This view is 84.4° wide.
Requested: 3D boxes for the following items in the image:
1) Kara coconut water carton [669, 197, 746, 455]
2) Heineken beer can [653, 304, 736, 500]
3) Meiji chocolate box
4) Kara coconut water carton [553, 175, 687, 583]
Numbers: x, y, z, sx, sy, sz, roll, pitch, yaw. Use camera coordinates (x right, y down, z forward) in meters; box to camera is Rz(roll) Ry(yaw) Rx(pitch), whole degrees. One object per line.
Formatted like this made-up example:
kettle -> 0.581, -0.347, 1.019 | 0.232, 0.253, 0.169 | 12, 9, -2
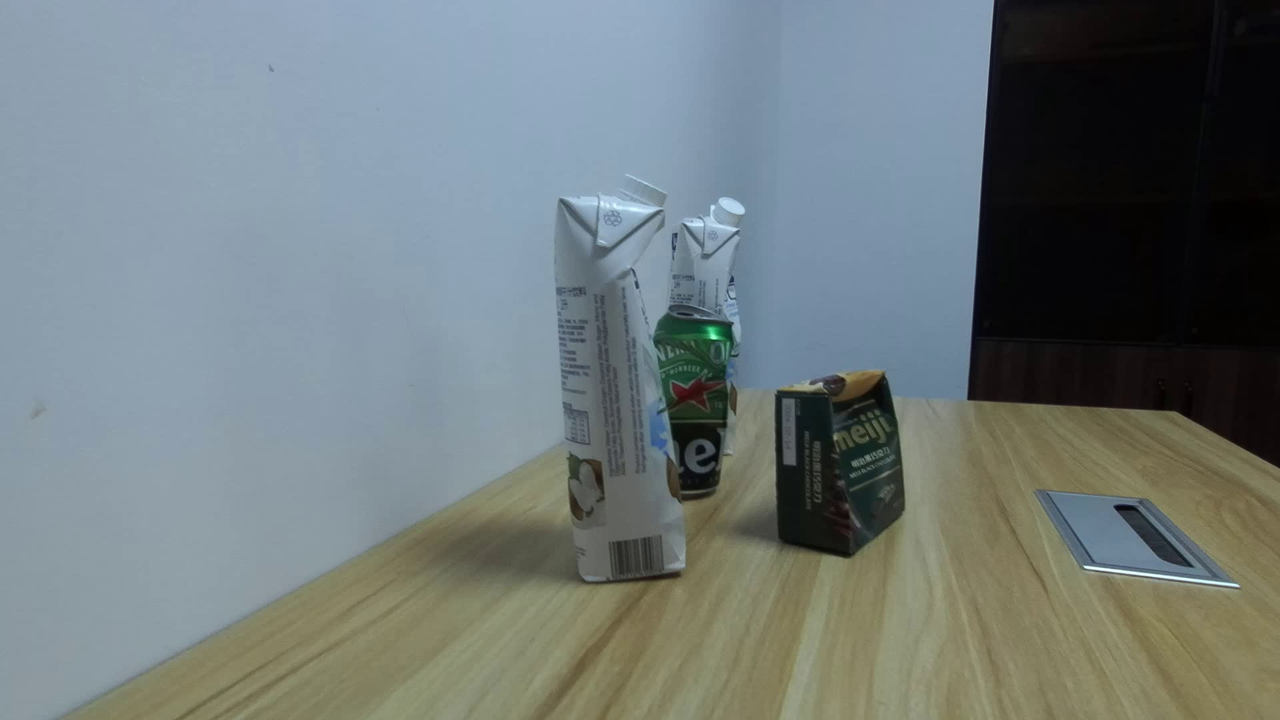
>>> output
Kara coconut water carton -> 0.064, -0.035, 0.714 | 0.078, 0.255, 0.083 | 4, 12, 12
Heineken beer can -> 0.036, 0.036, 0.582 | 0.078, 0.159, 0.067 | 10, 13, 19
Meiji chocolate box -> 0.142, 0.070, 0.512 | 0.058, 0.110, 0.114 | 1, 5, 29
Kara coconut water carton -> -0.013, 0.009, 0.443 | 0.071, 0.244, 0.099 | -4, 12, -5
